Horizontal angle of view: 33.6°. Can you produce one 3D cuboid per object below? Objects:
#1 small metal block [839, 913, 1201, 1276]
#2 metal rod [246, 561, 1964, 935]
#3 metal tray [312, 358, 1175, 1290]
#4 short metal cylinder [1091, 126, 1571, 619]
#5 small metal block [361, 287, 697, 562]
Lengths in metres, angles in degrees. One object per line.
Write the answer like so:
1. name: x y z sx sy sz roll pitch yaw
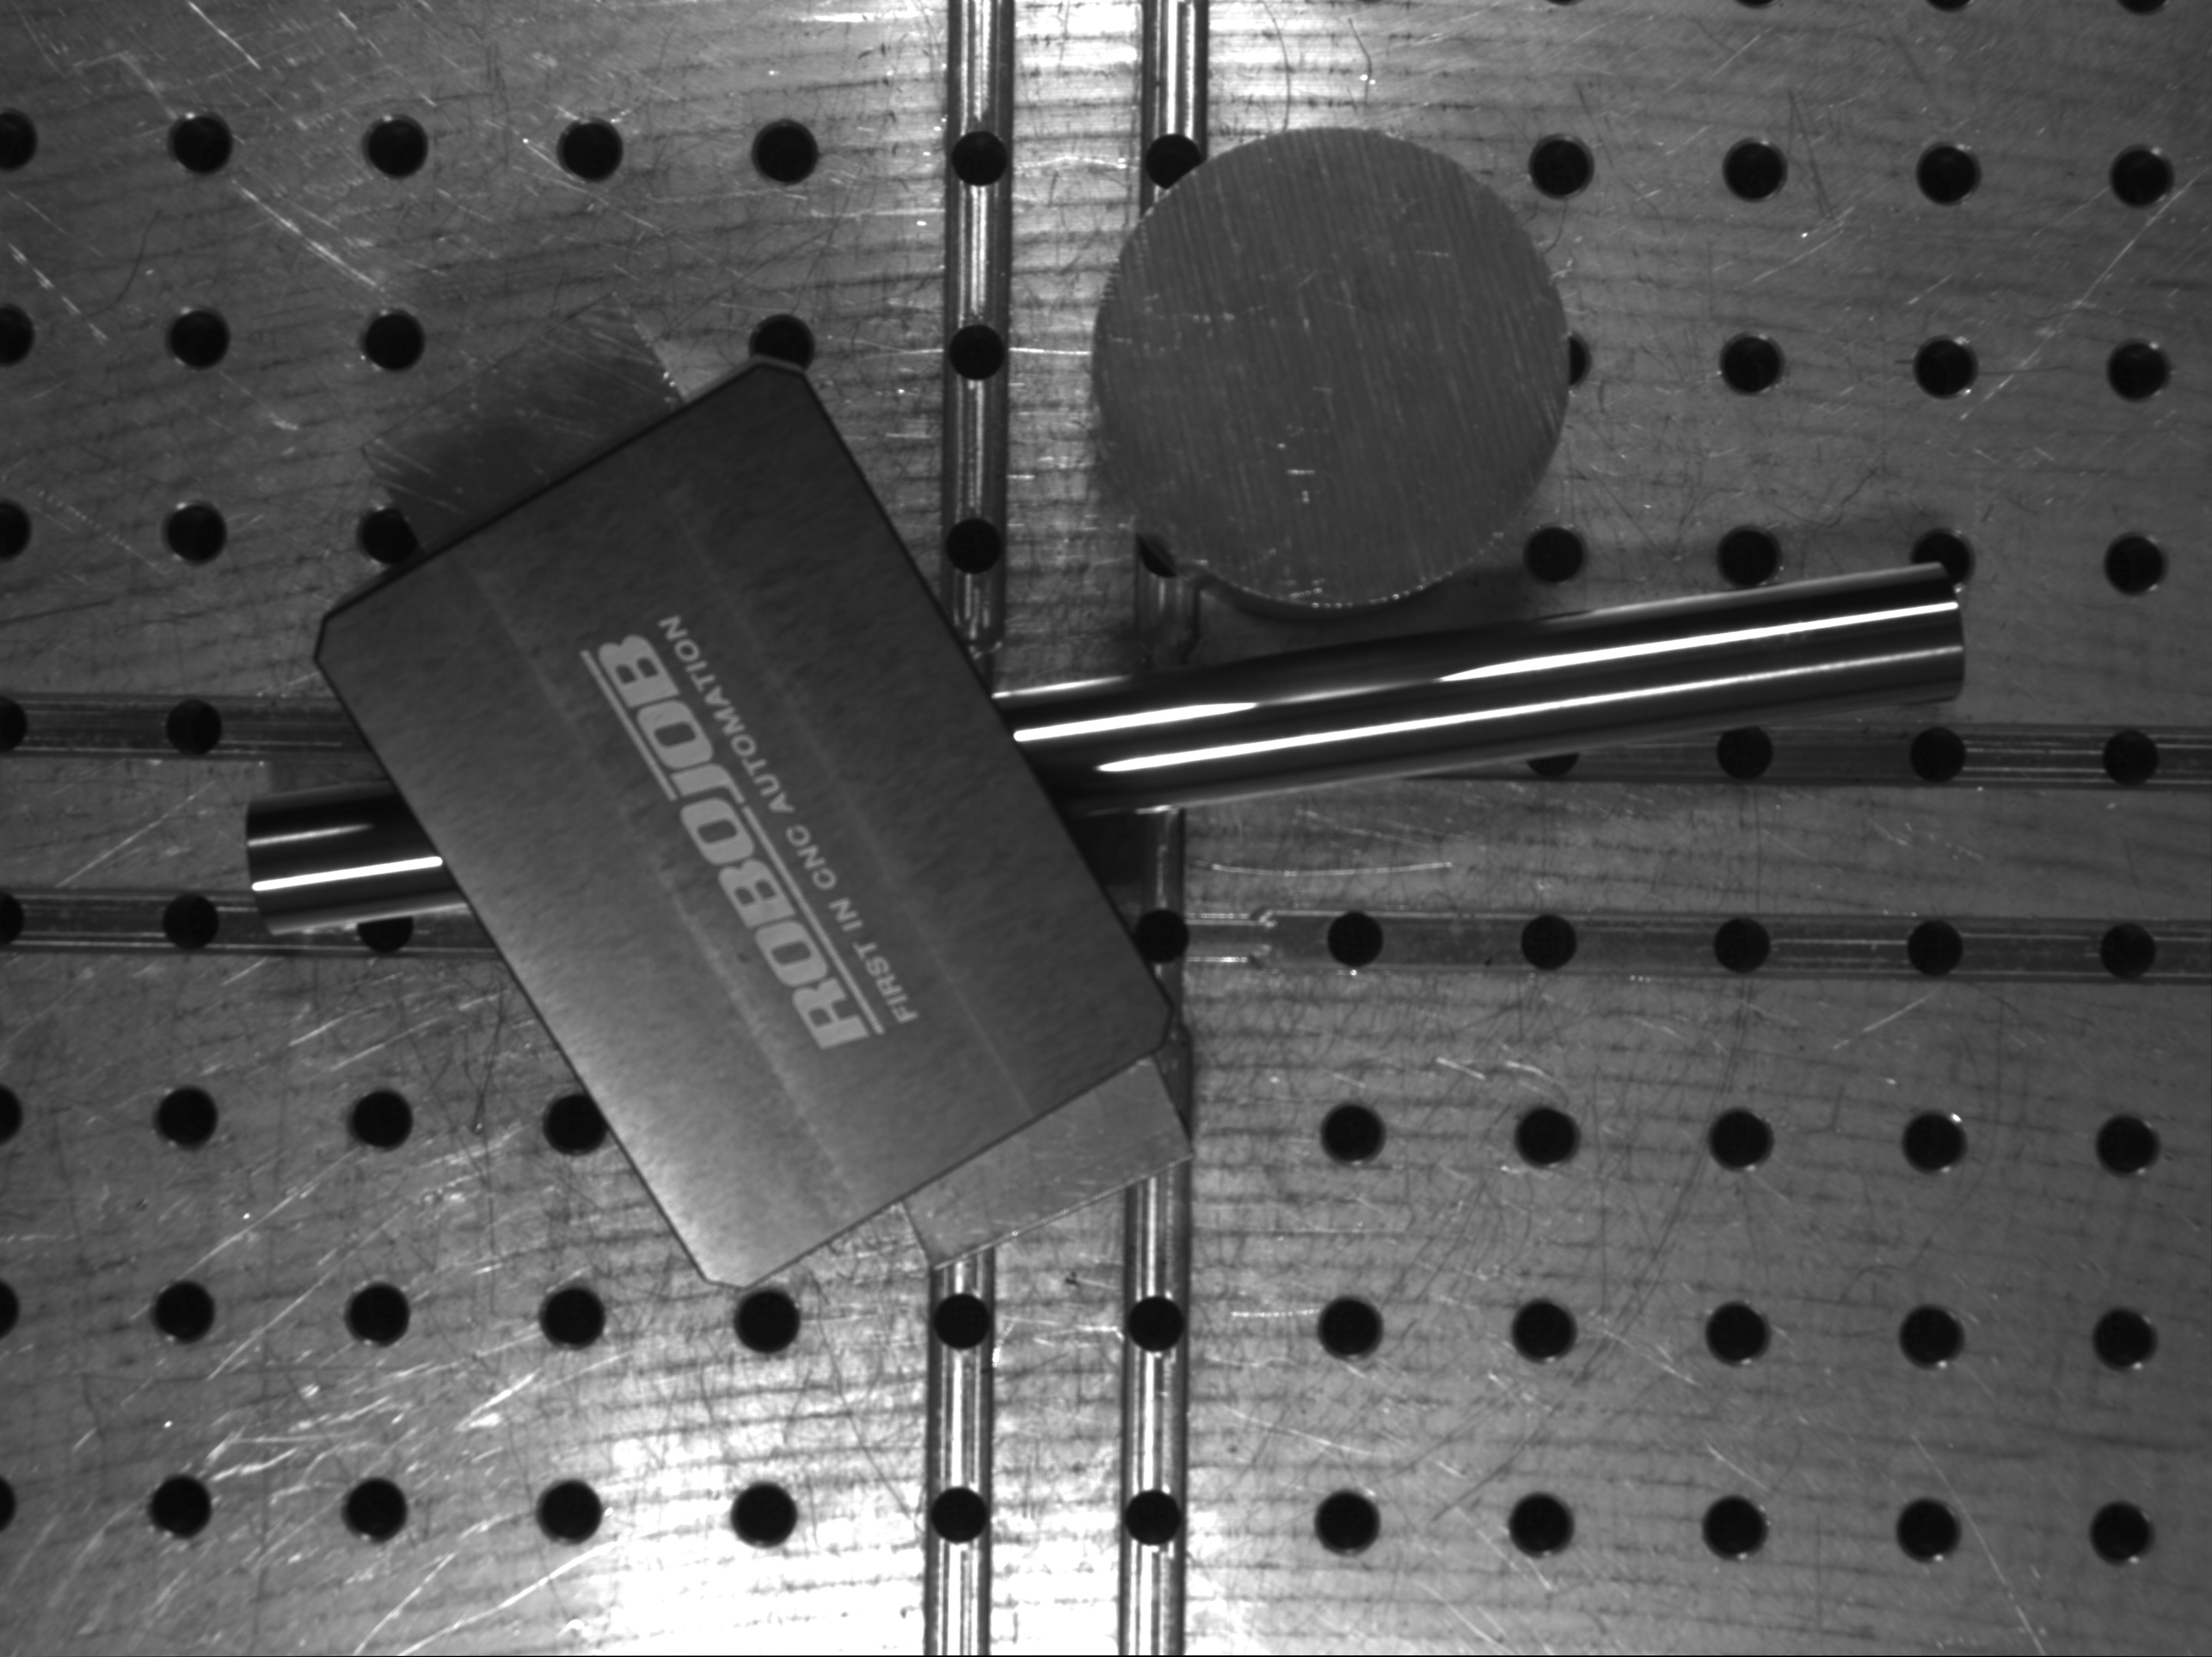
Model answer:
1. small metal block: -0.016 0.045 0.646 0.050 0.025 0.050 -23 90 0
2. metal rod: 0.000 -0.014 0.648 0.300 0.025 0.025 -8 90 -1
3. metal tray: -0.058 -0.001 0.606 0.090 0.030 0.130 -30 101 0
4. short metal cylinder: 0.037 -0.077 0.635 0.080 0.050 0.080 0 90 0
5. small metal block: -0.096 -0.066 0.634 0.050 0.050 0.025 -32 90 0
